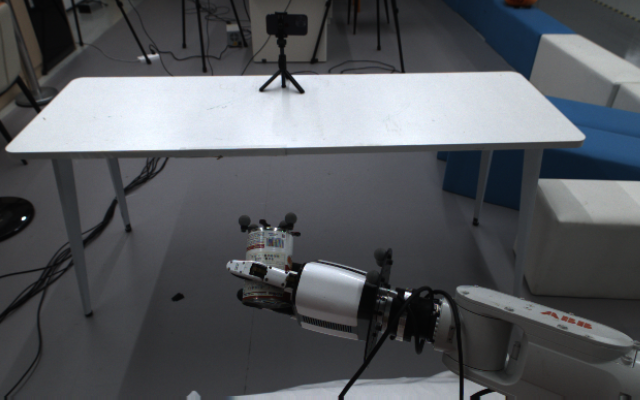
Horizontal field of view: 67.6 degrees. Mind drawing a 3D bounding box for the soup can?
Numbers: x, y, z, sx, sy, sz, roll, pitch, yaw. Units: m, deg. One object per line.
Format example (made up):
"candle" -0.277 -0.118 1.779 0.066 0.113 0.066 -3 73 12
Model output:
"soup can" -0.071 0.097 0.677 0.067 0.067 0.101 1 68 -1
